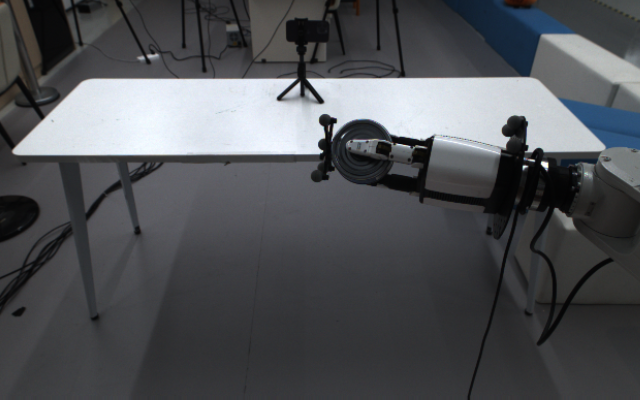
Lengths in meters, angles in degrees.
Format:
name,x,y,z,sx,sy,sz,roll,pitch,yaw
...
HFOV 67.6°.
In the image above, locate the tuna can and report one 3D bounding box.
name,x,y,z,sx,sy,sz,roll,pitch,yaw
tuna can,0.062,-0.063,0.656,0.085,0.085,0.034,9,-6,10
